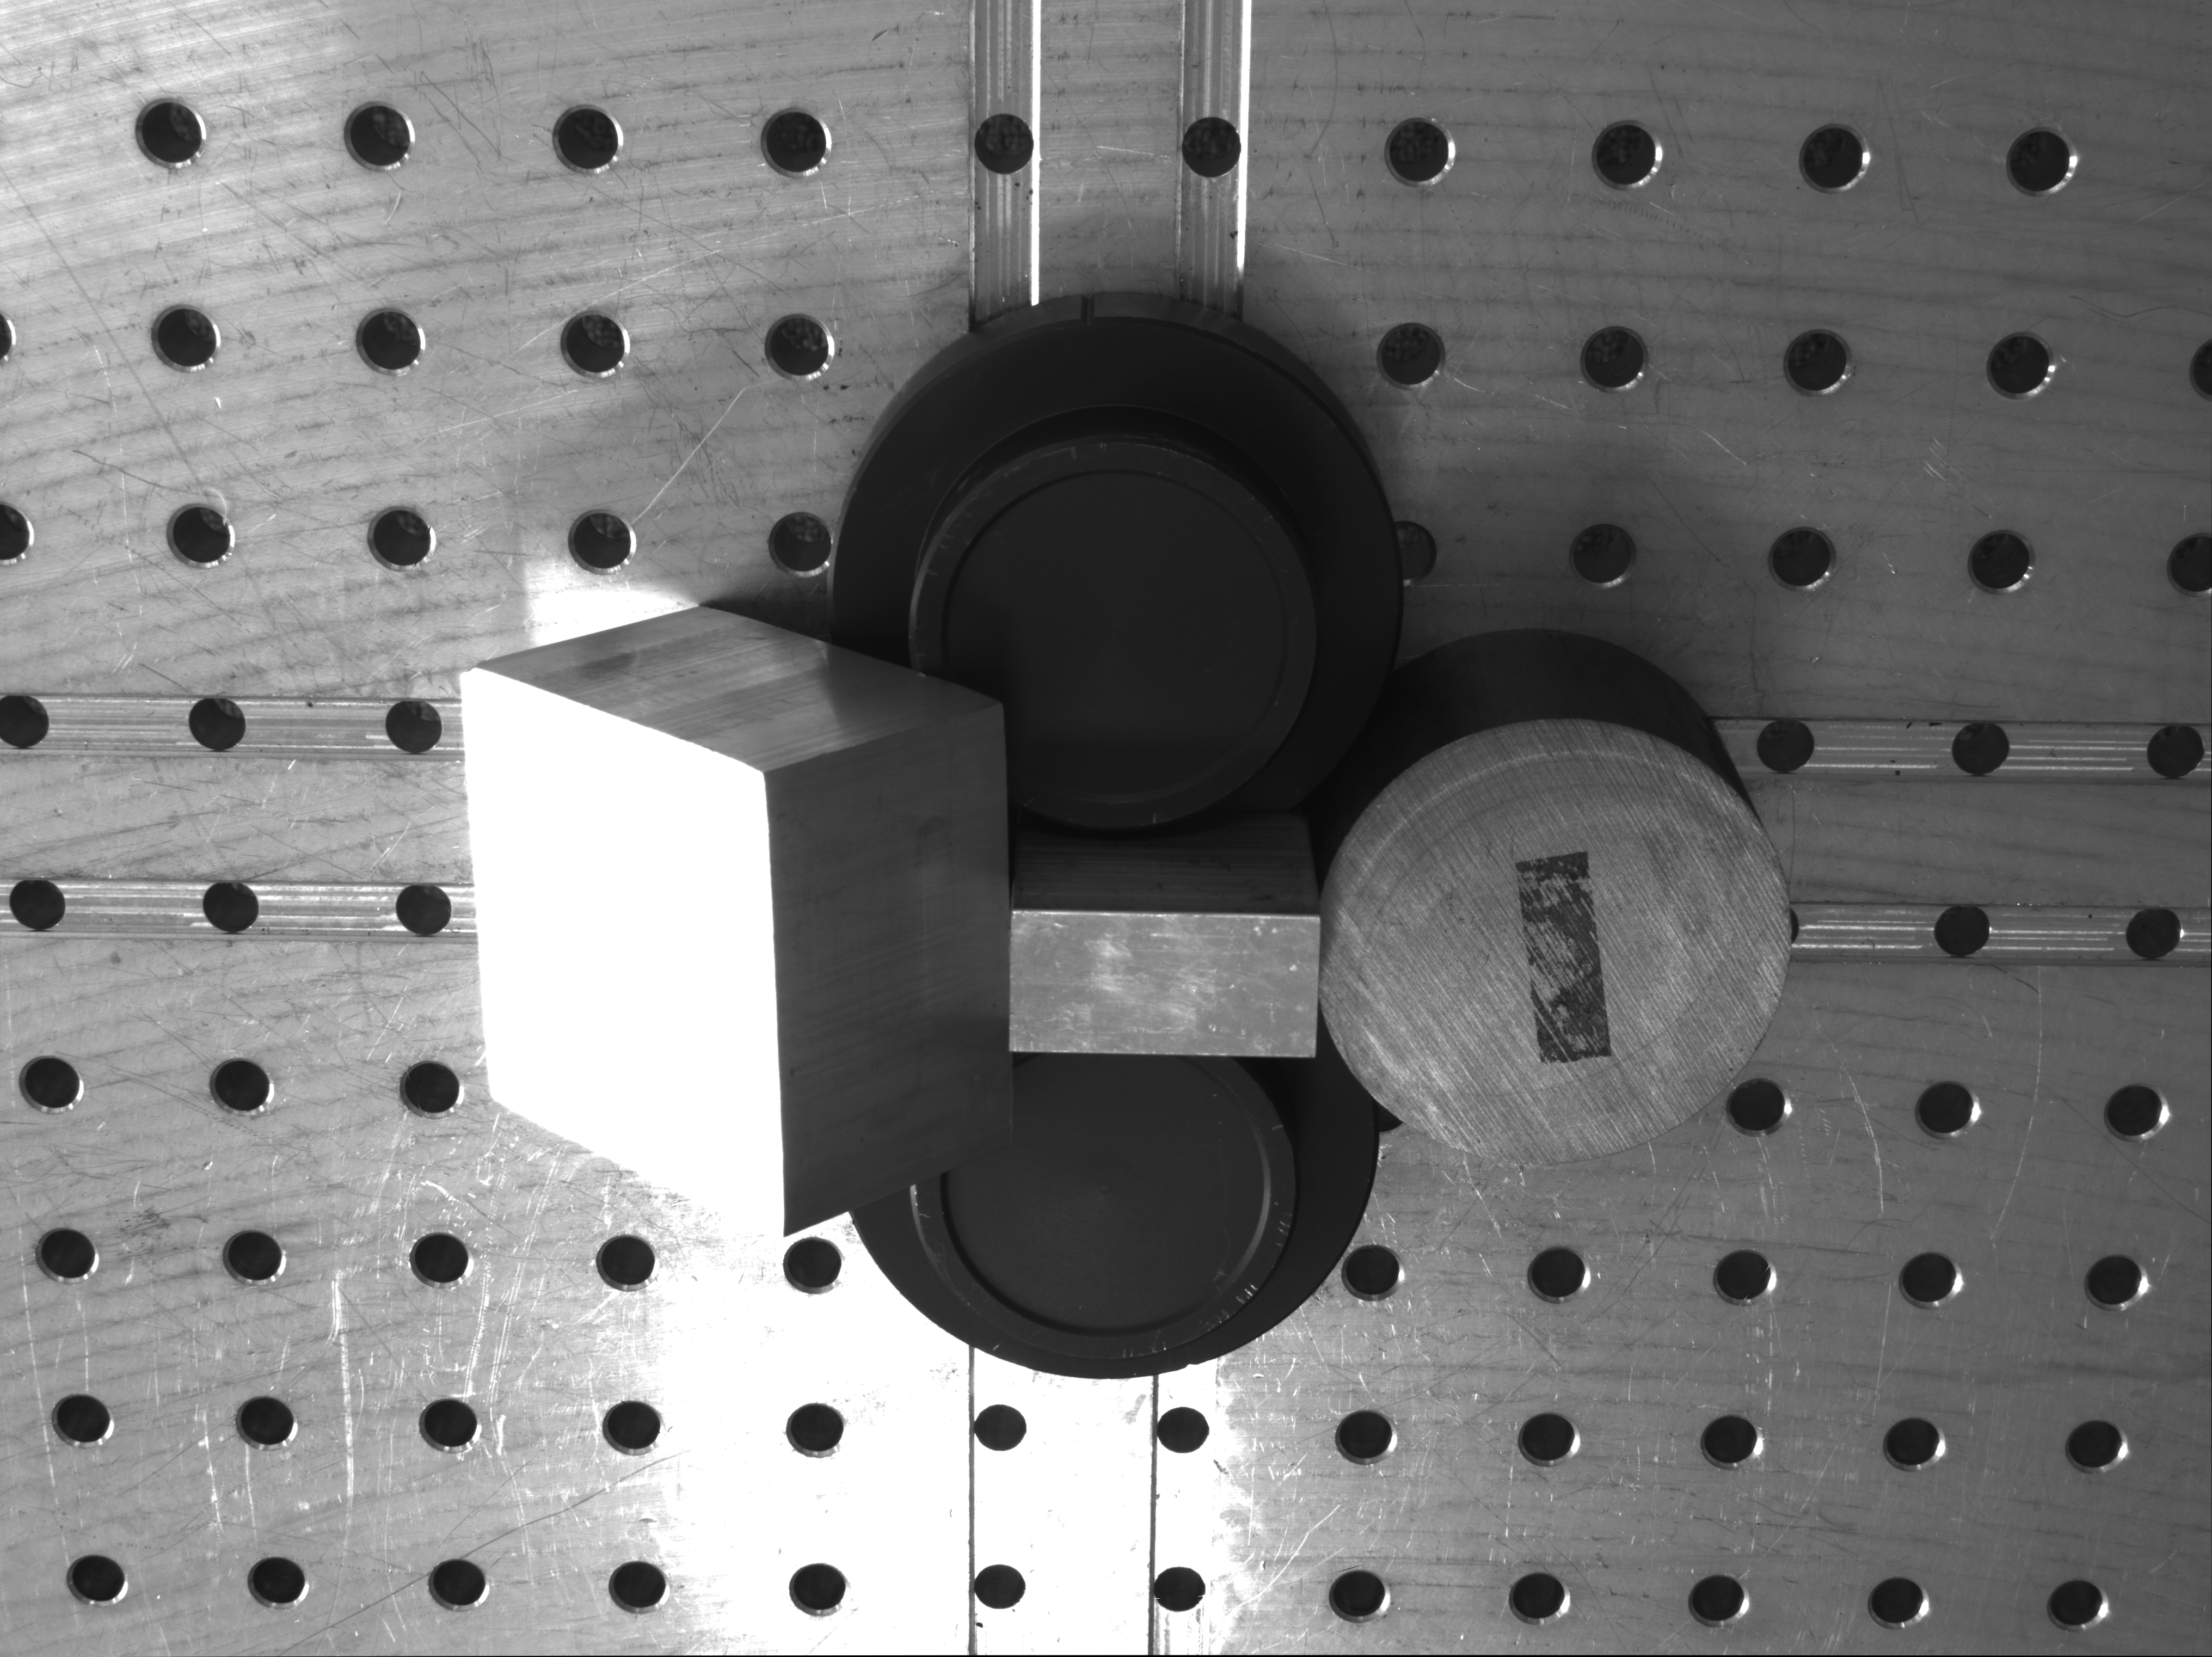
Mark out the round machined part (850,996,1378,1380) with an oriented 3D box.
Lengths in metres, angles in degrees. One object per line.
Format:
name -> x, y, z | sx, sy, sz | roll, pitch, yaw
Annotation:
round machined part -> 0.000, 0.056, 0.658 | 0.098, 0.042, 0.098 | 0, 110, 0

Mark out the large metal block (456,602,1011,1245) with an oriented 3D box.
large metal block -> -0.062, 0.013, 0.615 | 0.050, 0.080, 0.080 | -19, 117, -41

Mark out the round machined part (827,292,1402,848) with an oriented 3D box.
round machined part -> 0.001, -0.039, 0.623 | 0.098, 0.042, 0.098 | 0, 110, 0

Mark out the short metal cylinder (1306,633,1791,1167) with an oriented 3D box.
short metal cylinder -> 0.074, 0.012, 0.636 | 0.080, 0.050, 0.080 | 0, 110, 0

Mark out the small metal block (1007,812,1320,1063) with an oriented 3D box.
small metal block -> 0.009, 0.017, 0.616 | 0.050, 0.050, 0.025 | 1, 110, 0
